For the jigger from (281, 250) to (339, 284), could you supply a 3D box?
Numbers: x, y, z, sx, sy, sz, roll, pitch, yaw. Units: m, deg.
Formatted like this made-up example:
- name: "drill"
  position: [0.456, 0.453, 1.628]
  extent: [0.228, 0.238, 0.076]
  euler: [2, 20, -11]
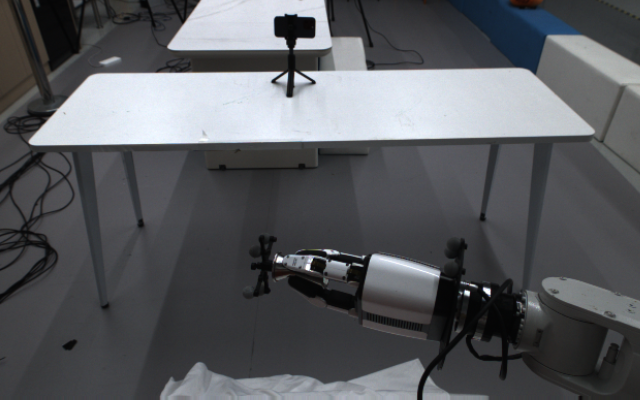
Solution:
- name: "jigger"
  position: [-0.017, 0.086, 0.625]
  extent: [0.071, 0.043, 0.043]
  euler: [4, 34, 13]
